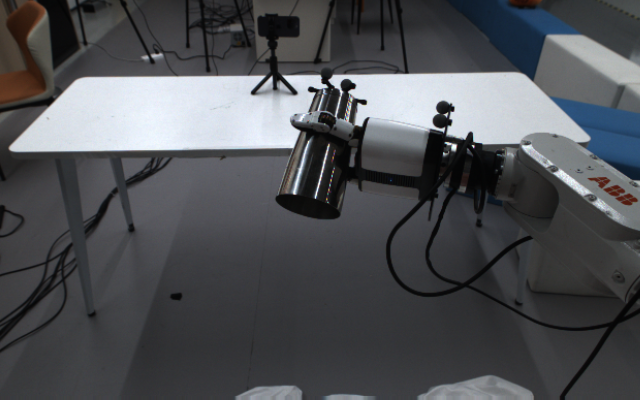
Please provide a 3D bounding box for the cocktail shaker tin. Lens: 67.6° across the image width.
[{"bbox_3d":[0.004,-0.068,0.680,0.093,0.093,0.170,11,72,12],"label":"cocktail shaker tin"}]
